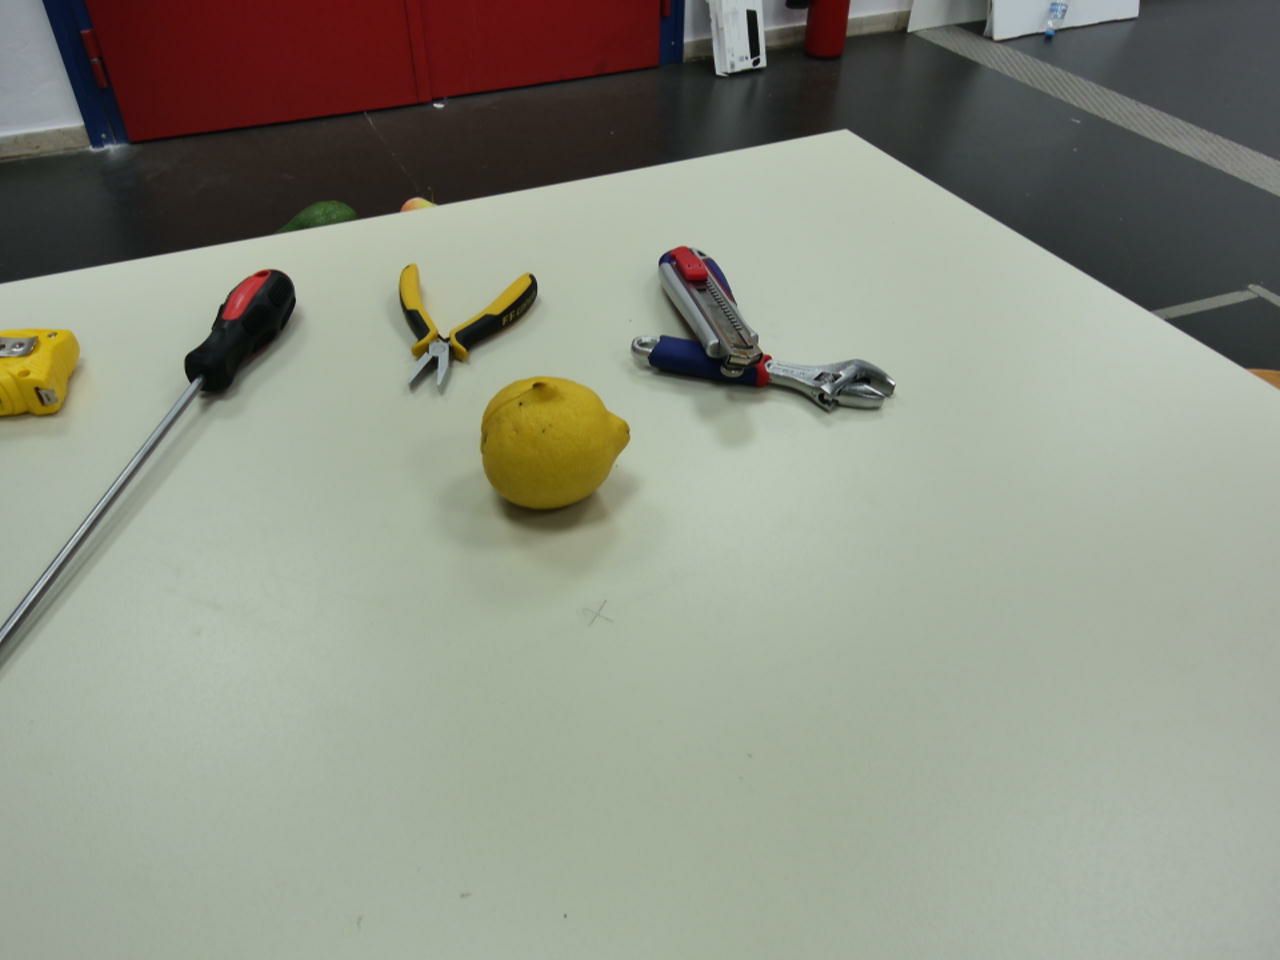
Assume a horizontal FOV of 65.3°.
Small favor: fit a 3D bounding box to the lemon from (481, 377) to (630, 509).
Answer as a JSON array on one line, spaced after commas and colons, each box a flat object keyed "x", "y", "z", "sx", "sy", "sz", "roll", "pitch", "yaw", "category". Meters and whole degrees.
[{"x": -0.048, "y": -0.022, "z": 0.512, "sx": 0.071, "sy": 0.071, "sz": 0.070, "roll": 22, "pitch": 43, "yaw": 23, "category": "lemon"}]
